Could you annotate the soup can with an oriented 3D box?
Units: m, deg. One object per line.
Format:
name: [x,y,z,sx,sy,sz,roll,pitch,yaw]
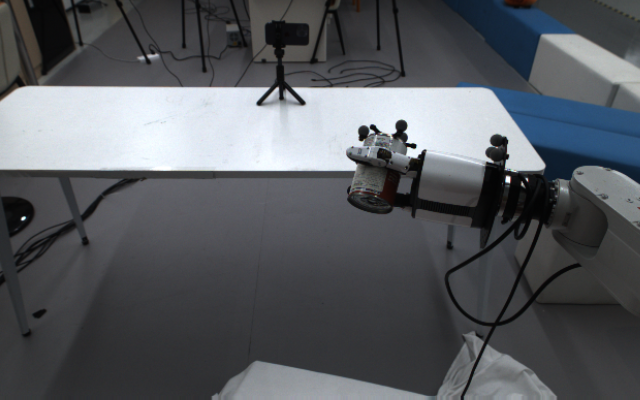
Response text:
soup can: [0.086,-0.039,0.713,0.067,0.067,0.101,12,70,14]
